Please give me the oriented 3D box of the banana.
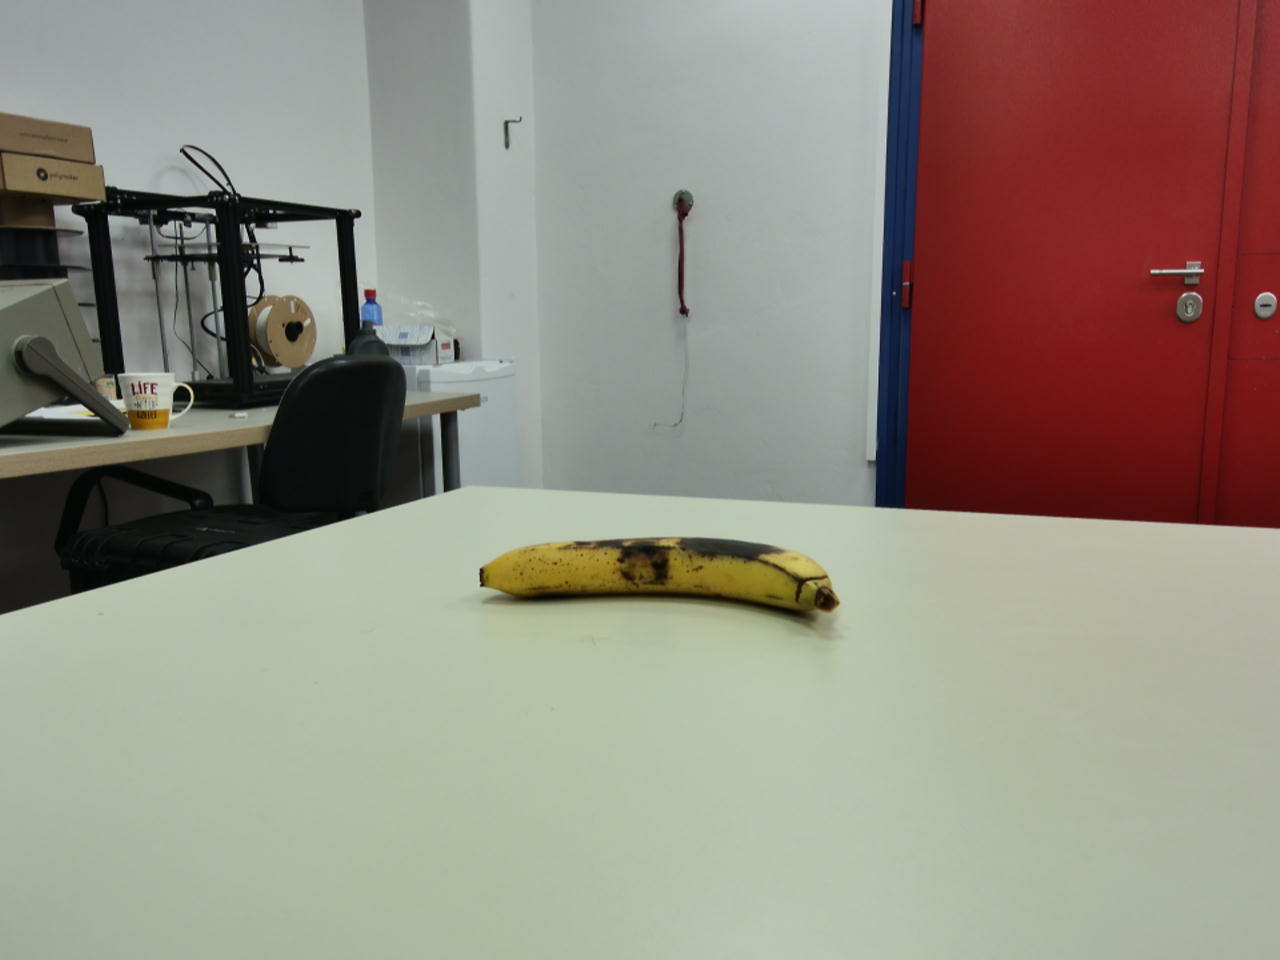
[{"bbox_3d":[0.017,0.056,0.601,0.222,0.037,0.084,3,7,23],"label":"banana"}]
